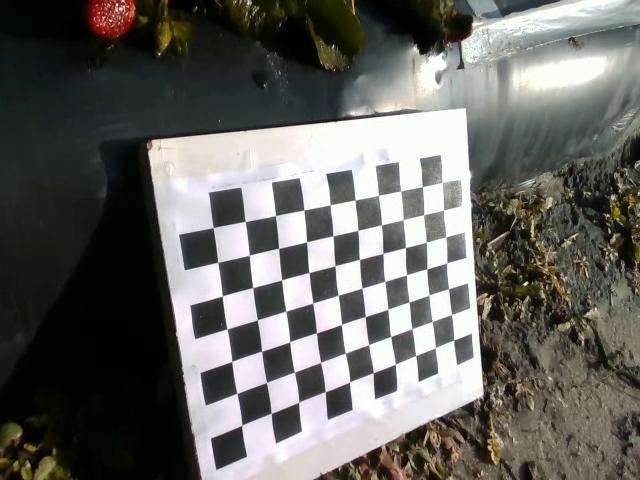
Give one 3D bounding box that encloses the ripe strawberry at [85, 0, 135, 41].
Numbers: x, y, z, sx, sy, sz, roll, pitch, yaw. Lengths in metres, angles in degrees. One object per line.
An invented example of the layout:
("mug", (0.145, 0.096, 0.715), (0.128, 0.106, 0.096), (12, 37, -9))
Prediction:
("ripe strawberry", (-0.140, -0.150, 0.375), (0.038, 0.053, 0.043), (-35, -58, 27))
